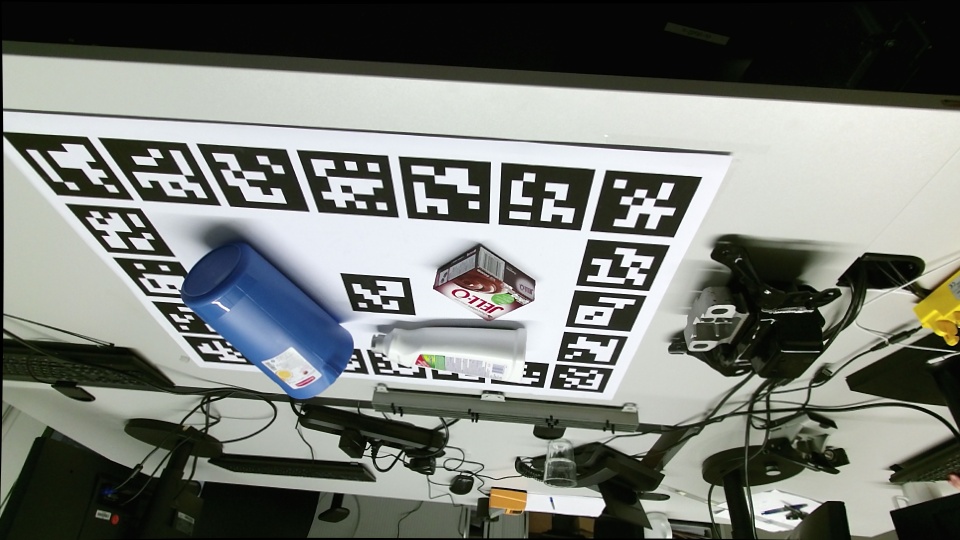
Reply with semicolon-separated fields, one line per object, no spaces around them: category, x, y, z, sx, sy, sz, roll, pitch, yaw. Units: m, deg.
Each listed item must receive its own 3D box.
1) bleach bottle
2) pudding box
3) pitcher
bleach bottle;-0.053;0.142;0.879;0.252;0.067;0.103;3;137;7
pudding box;0.007;0.030;0.745;0.090;0.038;0.114;-24;131;40
pitcher;-0.315;0.070;0.800;0.188;0.133;0.243;19;150;43
